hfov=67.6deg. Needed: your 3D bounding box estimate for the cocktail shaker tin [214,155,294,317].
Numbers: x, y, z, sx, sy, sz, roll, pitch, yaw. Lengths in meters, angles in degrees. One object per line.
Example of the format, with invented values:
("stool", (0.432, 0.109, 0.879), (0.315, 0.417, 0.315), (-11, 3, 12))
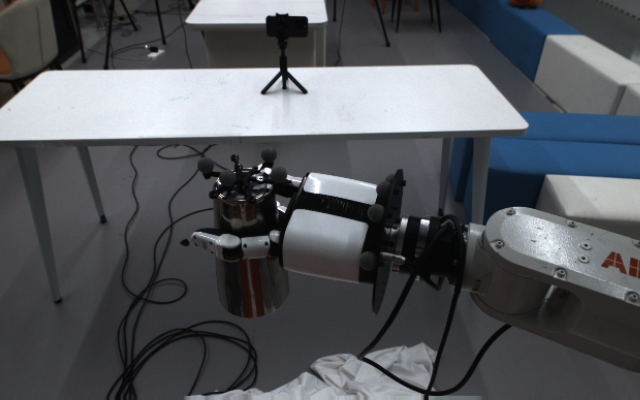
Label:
("cocktail shaker tin", (-0.080, 0.048, 0.576), (0.093, 0.170, 0.093), (1, 38, 0))
